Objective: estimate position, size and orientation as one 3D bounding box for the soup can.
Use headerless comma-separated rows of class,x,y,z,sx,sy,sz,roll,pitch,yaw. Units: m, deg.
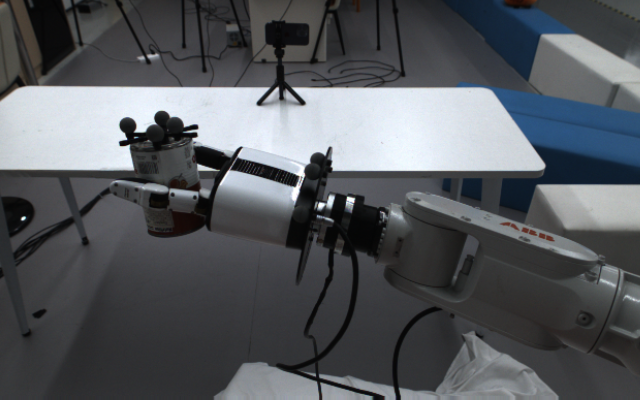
soup can,-0.167,-0.017,0.540,0.067,0.101,0.067,-4,21,1
